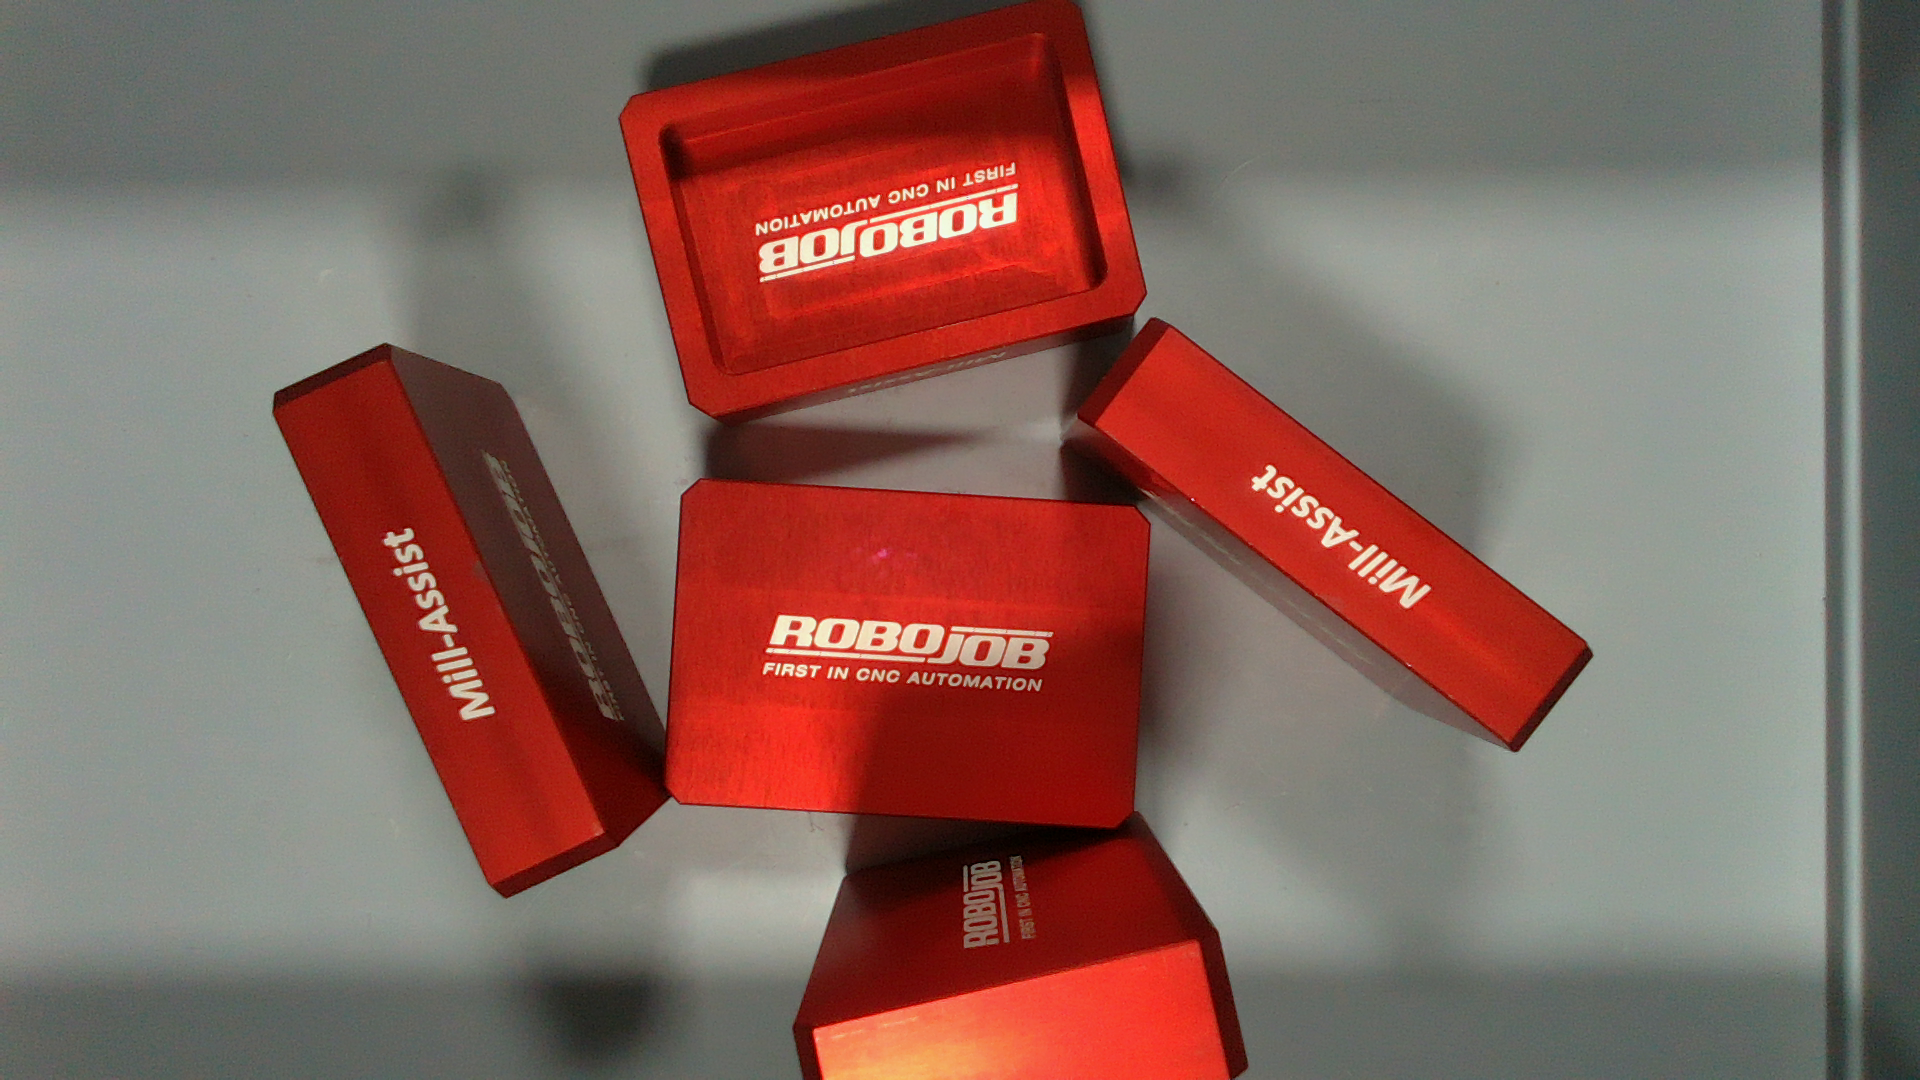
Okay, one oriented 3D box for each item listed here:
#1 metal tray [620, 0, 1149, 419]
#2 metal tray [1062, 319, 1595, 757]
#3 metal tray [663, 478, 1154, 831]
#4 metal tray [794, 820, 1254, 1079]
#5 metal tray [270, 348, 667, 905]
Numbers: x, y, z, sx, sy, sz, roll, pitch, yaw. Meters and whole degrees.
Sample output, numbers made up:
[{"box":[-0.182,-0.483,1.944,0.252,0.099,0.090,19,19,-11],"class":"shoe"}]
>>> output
[{"box":[-0.021,-0.092,0.391,0.130,0.030,0.090,-13,90,0],"class":"metal tray"},{"box":[0.089,-0.001,0.361,0.130,0.090,0.030,38,91,0],"class":"metal tray"},{"box":[-0.014,0.031,0.390,0.130,0.030,0.090,3,90,0],"class":"metal tray"},{"box":[0.013,0.105,0.341,0.090,0.130,0.030,-13,91,0],"class":"metal tray"},{"box":[-0.121,0.020,0.361,0.030,0.090,0.130,-25,91,-1],"class":"metal tray"}]
